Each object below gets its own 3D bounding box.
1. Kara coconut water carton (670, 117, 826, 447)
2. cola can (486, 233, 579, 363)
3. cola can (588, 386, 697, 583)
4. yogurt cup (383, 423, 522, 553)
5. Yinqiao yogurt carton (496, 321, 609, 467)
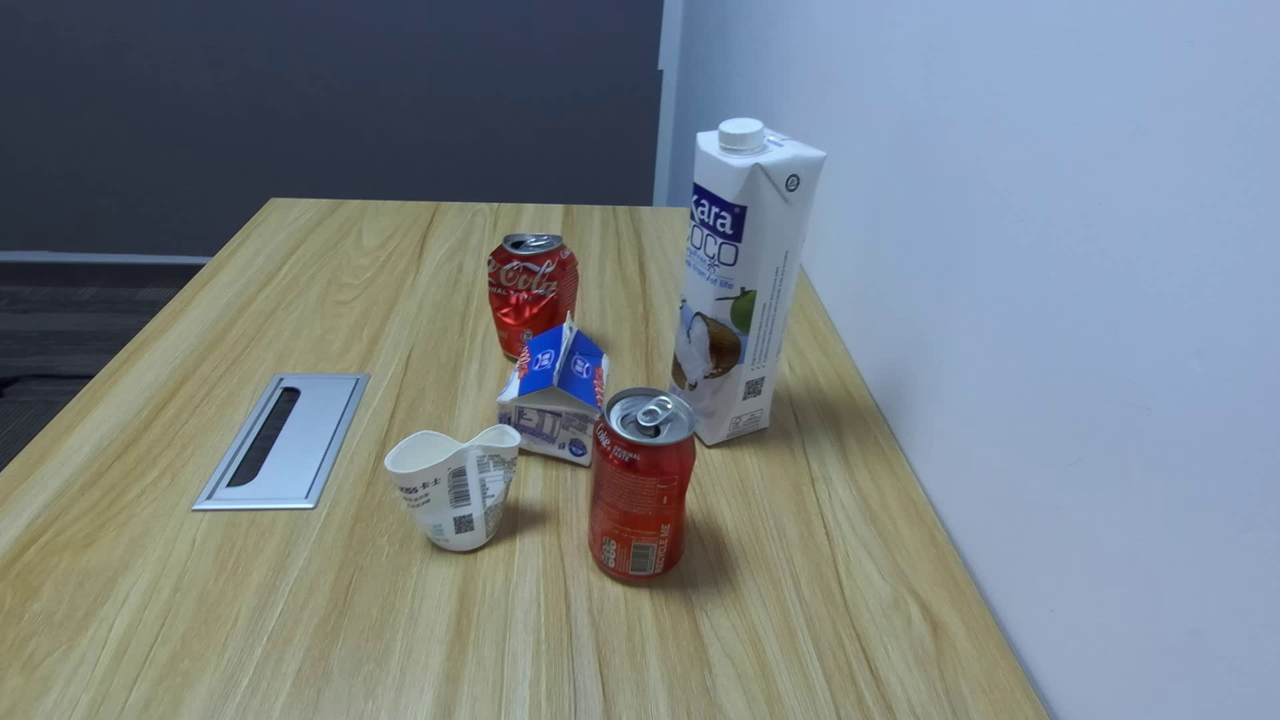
[{"bbox_3d":[0.073,-0.055,0.531,0.075,0.245,0.076,-15,38,-27],"label":"Kara coconut water carton"},{"bbox_3d":[-0.093,-0.056,0.637,0.069,0.112,0.066,25,38,30],"label":"cola can"},{"bbox_3d":[-0.001,0.077,0.445,0.065,0.117,0.072,-2,35,-6],"label":"cola can"},{"bbox_3d":[-0.120,0.083,0.468,0.053,0.071,0.075,30,44,30],"label":"yogurt cup"},{"bbox_3d":[-0.065,0.019,0.540,0.080,0.097,0.074,10,35,-3],"label":"Yinqiao yogurt carton"}]
